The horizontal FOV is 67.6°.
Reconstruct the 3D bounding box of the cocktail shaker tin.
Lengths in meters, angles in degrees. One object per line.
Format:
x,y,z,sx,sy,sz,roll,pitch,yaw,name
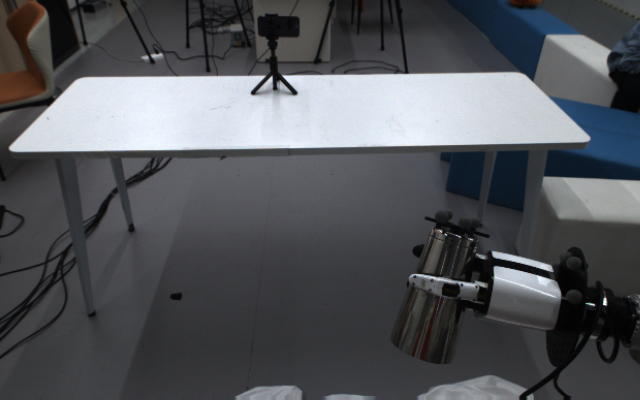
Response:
0.167,0.126,0.675,0.093,0.170,0.093,14,6,-2,cocktail shaker tin
